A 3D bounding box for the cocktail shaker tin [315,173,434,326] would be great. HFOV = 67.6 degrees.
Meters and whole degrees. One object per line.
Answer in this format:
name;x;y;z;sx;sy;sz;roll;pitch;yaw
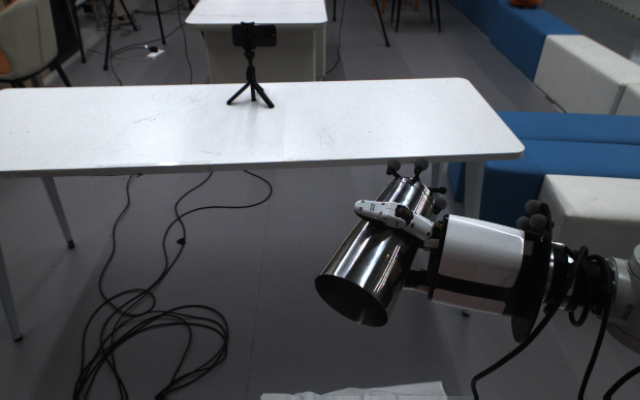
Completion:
cocktail shaker tin;0.077;0.048;0.572;0.093;0.093;0.170;19;54;23
